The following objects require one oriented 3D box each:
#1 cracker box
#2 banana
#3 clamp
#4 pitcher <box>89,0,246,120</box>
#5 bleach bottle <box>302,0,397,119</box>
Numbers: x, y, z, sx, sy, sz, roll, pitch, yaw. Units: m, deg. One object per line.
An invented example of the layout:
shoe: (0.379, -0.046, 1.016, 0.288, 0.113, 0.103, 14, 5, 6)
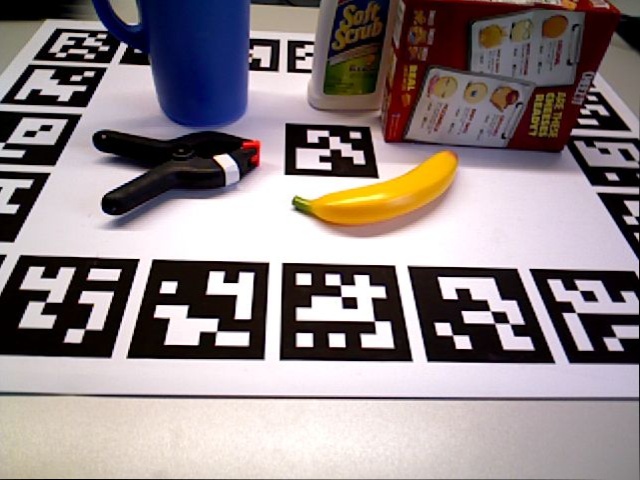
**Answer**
cracker box: (0.192, -0.193, 0.592, 0.212, 0.168, 0.071, 0, 40, -3)
banana: (0.086, -0.048, 0.554, 0.193, 0.040, 0.074, -26, 50, -29)
clamp: (-0.134, -0.071, 0.548, 0.163, 0.037, 0.121, -11, 43, -18)
pitcher: (-0.146, -0.253, 0.556, 0.186, 0.248, 0.132, -11, 45, -21)
bleach bottle: (0.035, -0.265, 0.614, 0.102, 0.256, 0.067, 0, 42, -5)
